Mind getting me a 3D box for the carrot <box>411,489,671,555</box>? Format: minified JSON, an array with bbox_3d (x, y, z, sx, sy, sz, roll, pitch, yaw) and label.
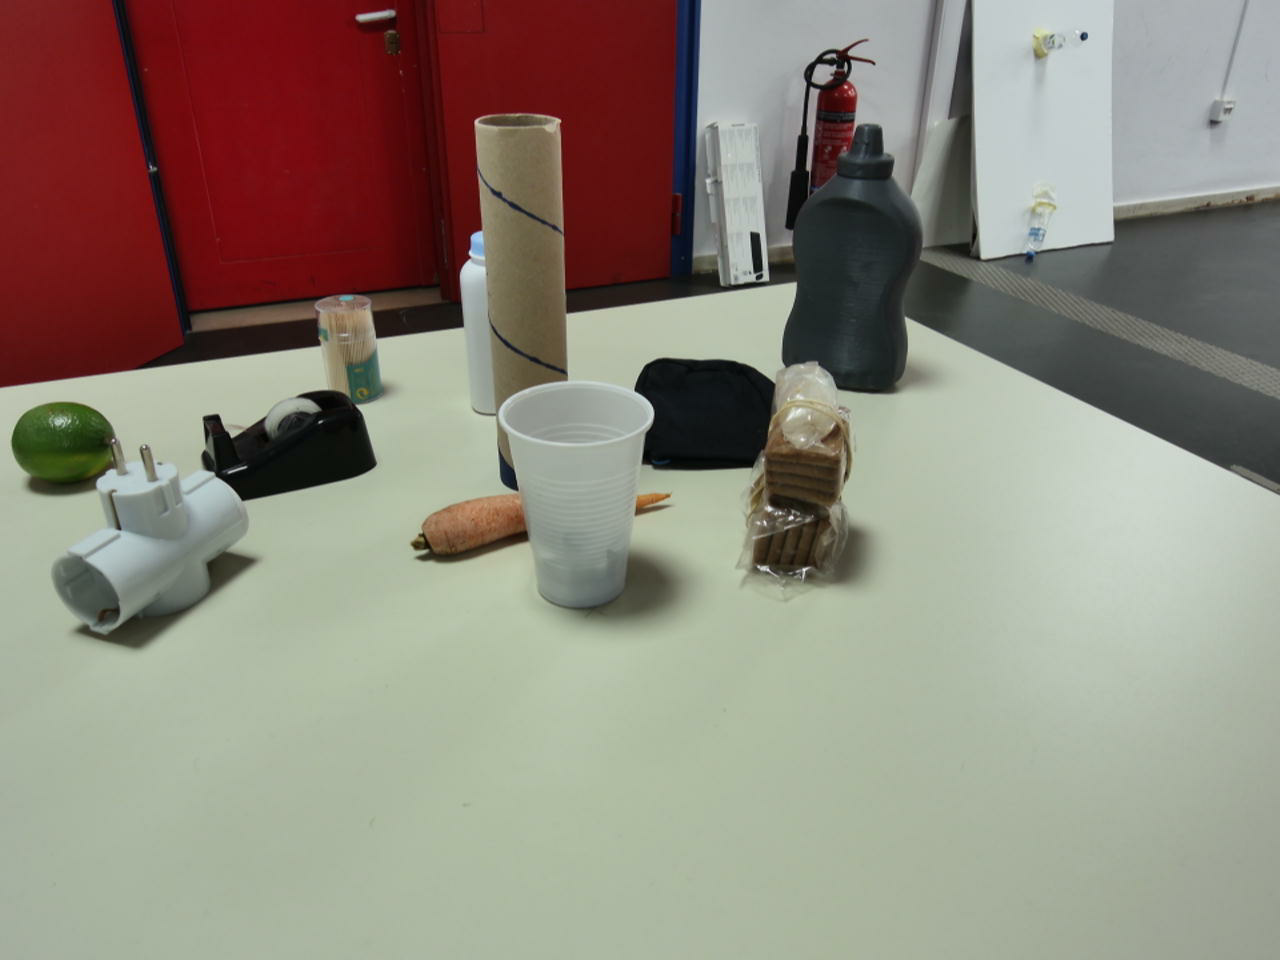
[{"bbox_3d":[-0.057,0.018,0.605,0.163,0.029,0.031,-11,29,-22],"label":"carrot"}]
